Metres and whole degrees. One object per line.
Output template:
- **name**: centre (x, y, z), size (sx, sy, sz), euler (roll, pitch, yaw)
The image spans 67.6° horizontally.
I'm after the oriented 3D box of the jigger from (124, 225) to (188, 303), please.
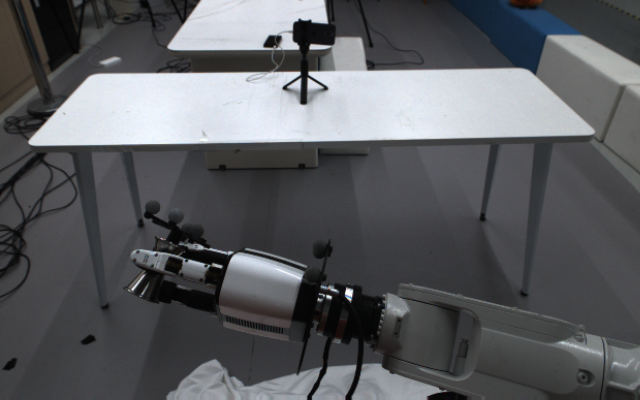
- **jigger**: centre (-0.190, 0.079, 0.559), size (0.043, 0.043, 0.071), euler (20, 73, 24)
